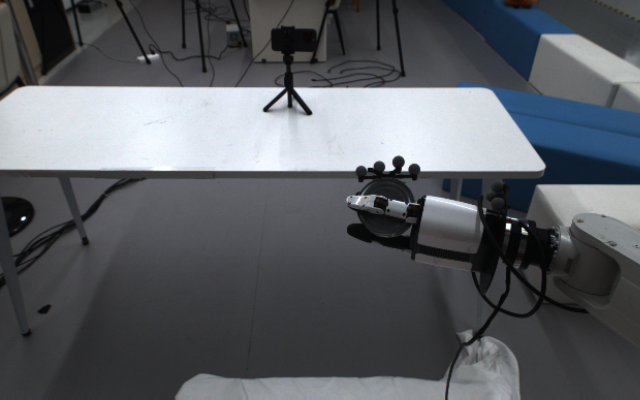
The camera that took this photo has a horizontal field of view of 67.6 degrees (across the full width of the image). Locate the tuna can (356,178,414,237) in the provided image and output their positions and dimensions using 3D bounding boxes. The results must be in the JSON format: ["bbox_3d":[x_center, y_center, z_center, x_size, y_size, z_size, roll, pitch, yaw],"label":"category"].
[{"bbox_3d":[0.098,0.011,0.713,0.085,0.034,0.085,-5,73,15],"label":"tuna can"}]
